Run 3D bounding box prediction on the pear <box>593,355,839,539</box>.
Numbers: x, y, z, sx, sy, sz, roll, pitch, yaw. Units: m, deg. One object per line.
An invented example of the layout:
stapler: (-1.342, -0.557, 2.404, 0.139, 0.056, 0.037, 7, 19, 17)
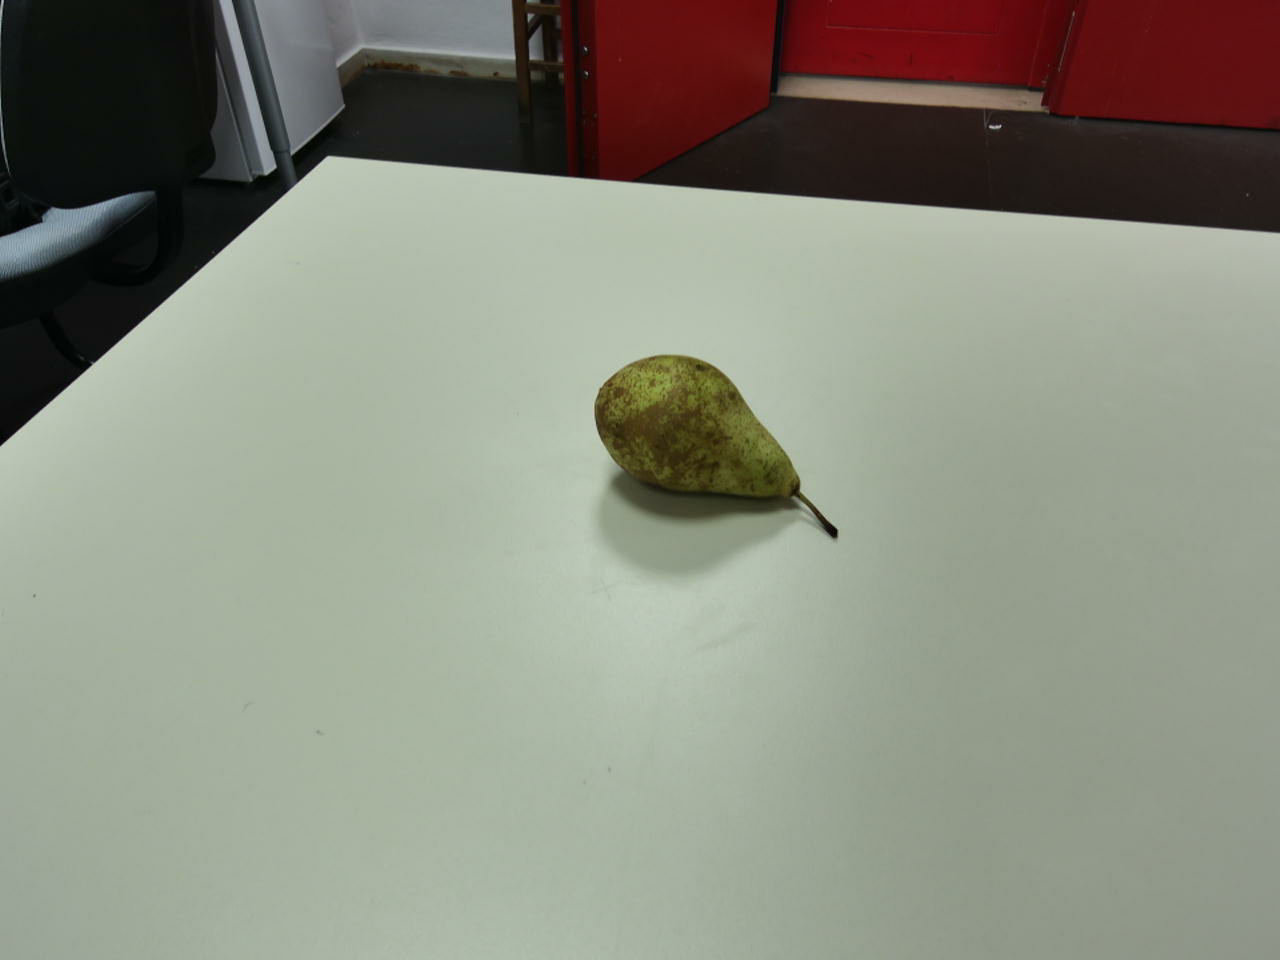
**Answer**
pear: (0.041, -0.027, 0.520, 0.128, 0.075, 0.071, 4, 39, 4)
